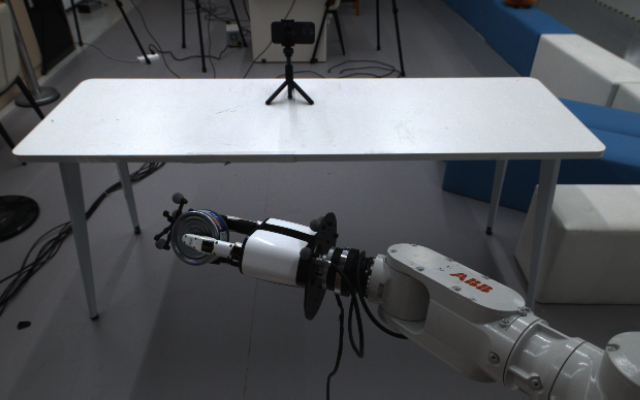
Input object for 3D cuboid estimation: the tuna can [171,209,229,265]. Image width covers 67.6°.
[{"bbox_3d":[-0.185,0.057,0.747,0.085,0.085,0.034,13,6,15],"label":"tuna can"}]
